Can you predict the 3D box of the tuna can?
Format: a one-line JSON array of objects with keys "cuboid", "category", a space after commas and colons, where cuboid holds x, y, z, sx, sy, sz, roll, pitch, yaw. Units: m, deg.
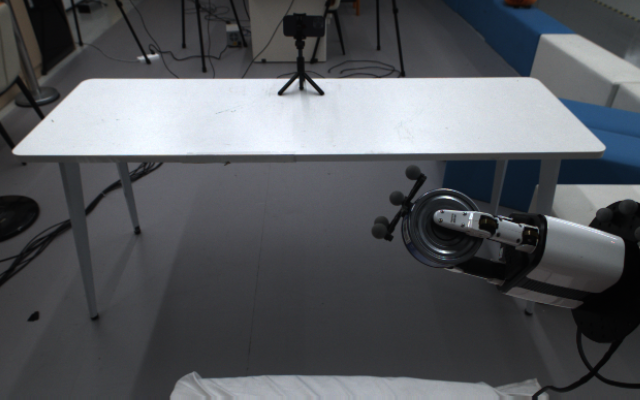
[{"cuboid": [0.139, 0.029, 0.536, 0.085, 0.034, 0.085, 1, 75, -5], "category": "tuna can"}]
